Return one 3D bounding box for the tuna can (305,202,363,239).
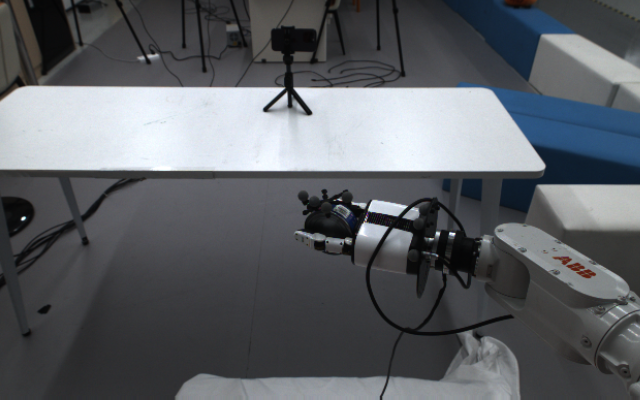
[{"bbox_3d":[0.021,0.045,0.790,0.085,0.085,0.034,17,36,20],"label":"tuna can"}]
